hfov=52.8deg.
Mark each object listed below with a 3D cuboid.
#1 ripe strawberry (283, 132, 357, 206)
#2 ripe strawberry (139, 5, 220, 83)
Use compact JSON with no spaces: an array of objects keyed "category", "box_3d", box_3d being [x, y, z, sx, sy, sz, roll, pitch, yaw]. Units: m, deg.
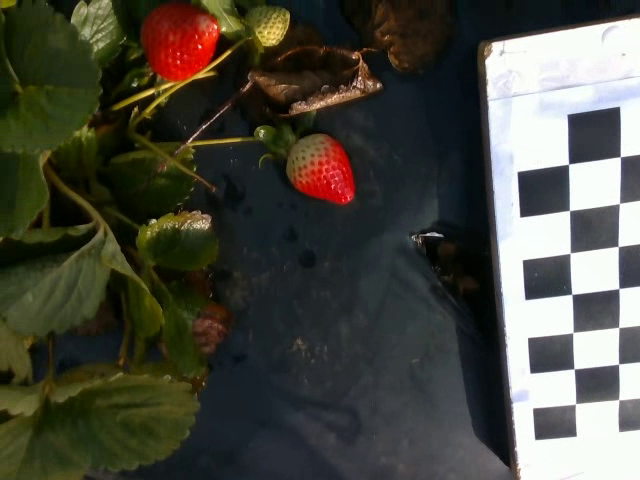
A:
[{"category":"ripe strawberry","box_3d":[0.001,-0.034,0.316,0.043,0.035,0.030,42,17,-10]},{"category":"ripe strawberry","box_3d":[-0.064,-0.092,0.291,0.048,0.040,0.031,-1,31,49]}]
